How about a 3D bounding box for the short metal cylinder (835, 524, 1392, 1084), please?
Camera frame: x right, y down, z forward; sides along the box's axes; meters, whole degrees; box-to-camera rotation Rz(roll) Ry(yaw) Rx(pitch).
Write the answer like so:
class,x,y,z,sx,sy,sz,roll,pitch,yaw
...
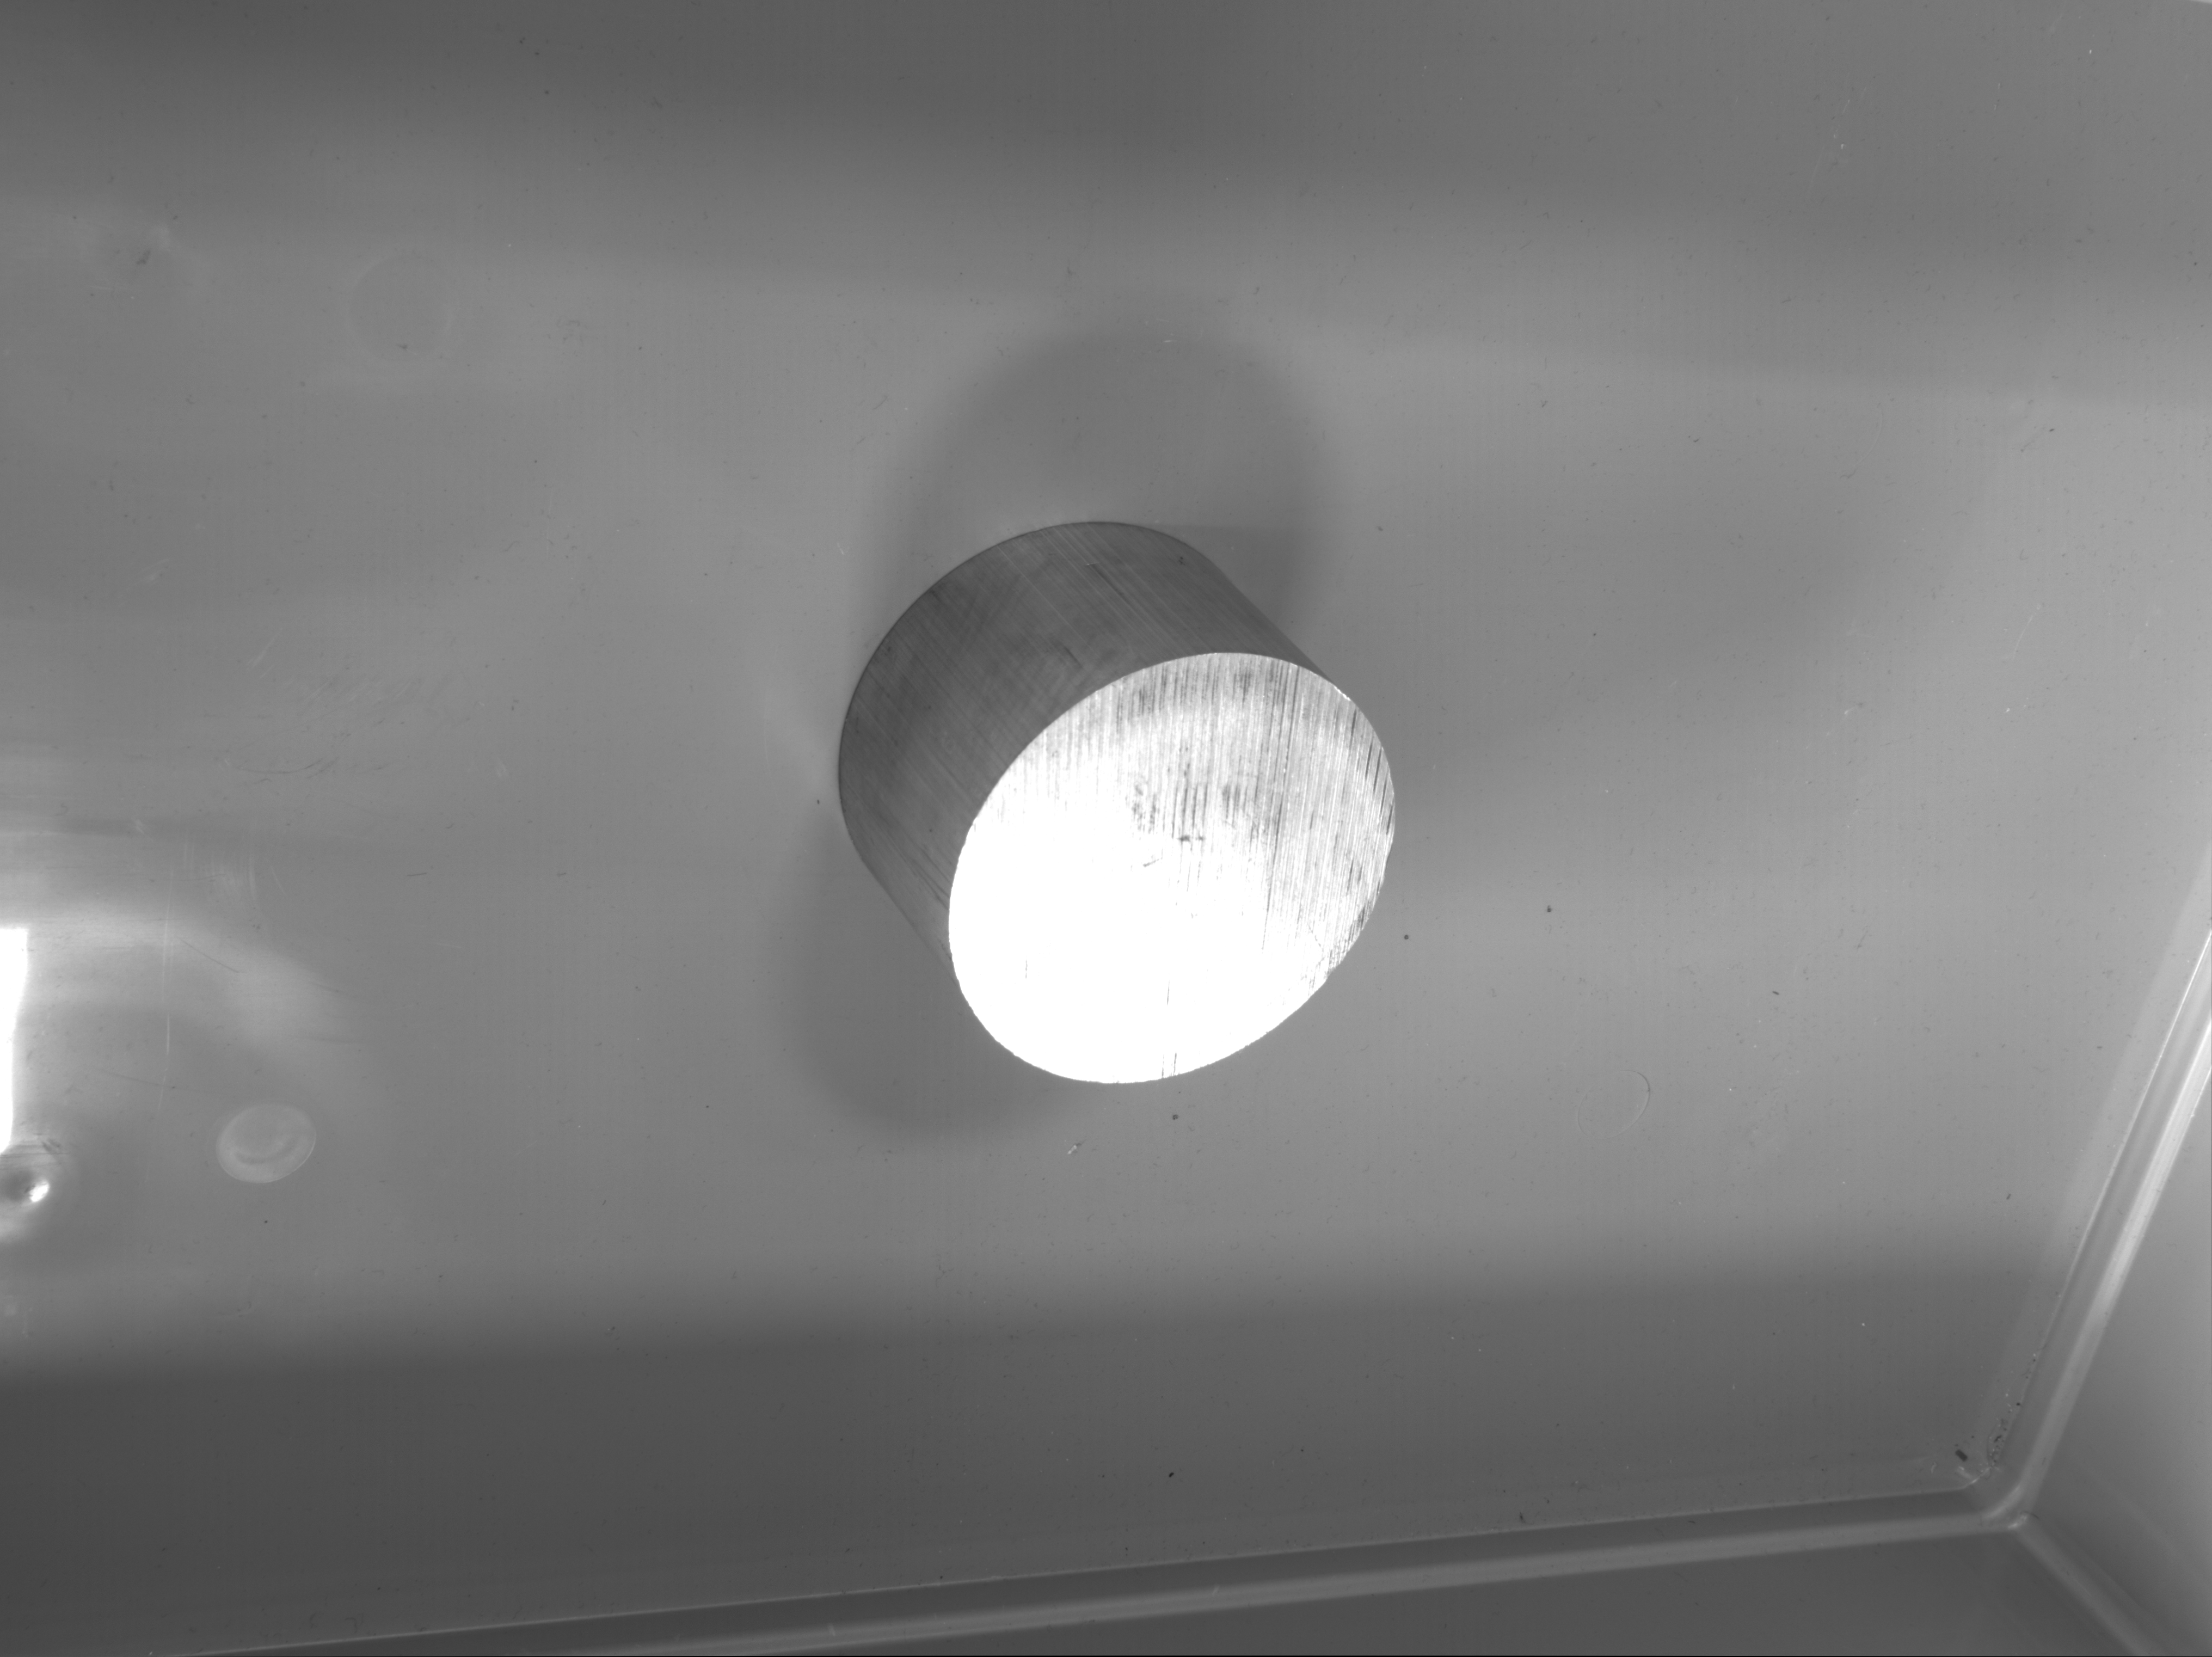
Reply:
class,x,y,z,sx,sy,sz,roll,pitch,yaw
short metal cylinder,0.001,-0.004,0.617,0.080,0.050,0.080,-13,124,-21
